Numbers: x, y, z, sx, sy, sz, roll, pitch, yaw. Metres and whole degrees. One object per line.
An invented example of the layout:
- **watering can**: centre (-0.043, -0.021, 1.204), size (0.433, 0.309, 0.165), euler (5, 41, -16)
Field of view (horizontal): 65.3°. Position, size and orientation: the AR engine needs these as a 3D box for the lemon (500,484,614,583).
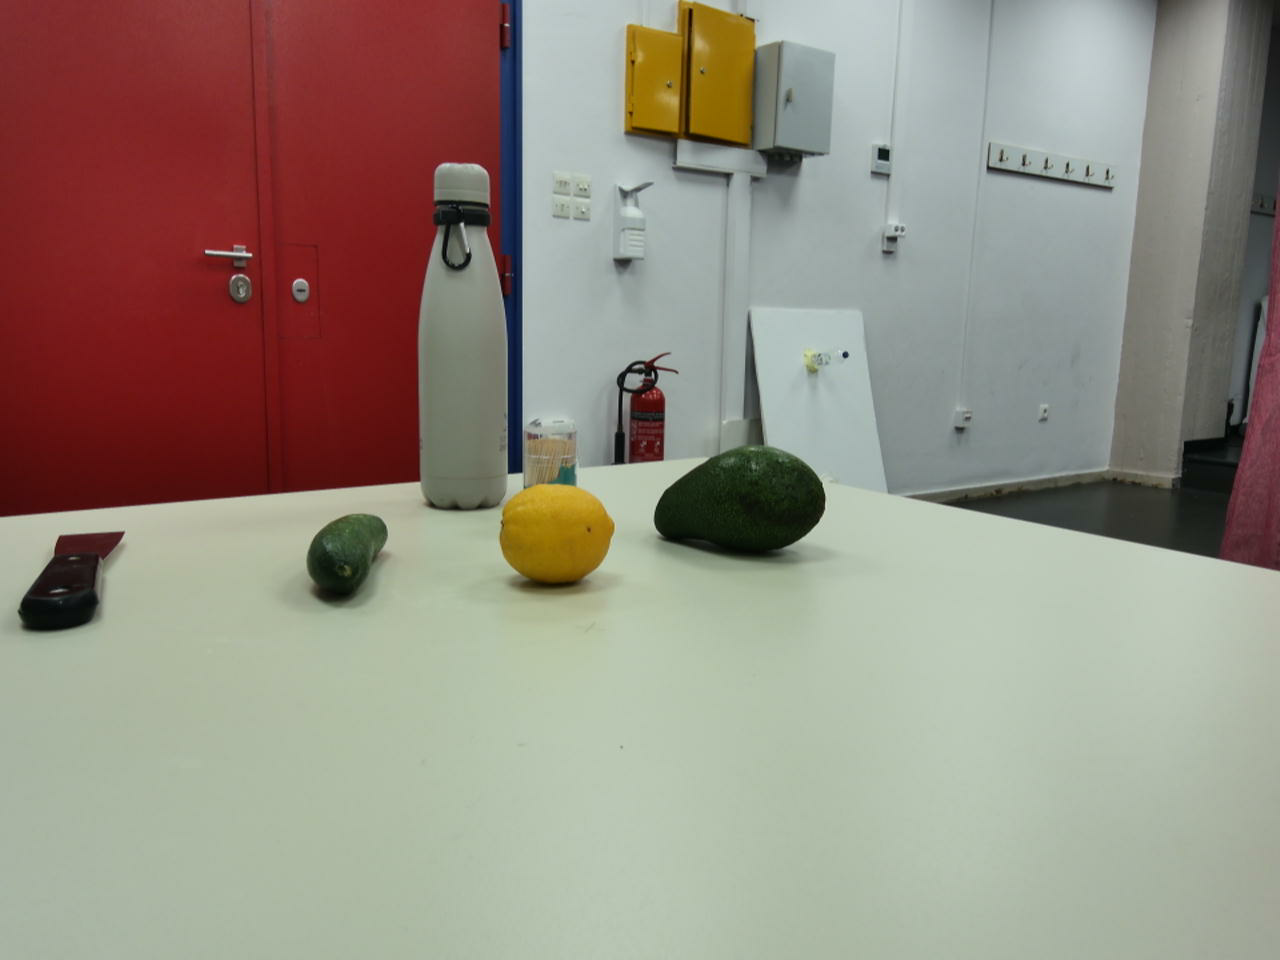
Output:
- **lemon**: centre (-0.051, 0.032, 0.600), size (0.067, 0.059, 0.061), euler (2, 8, 6)
